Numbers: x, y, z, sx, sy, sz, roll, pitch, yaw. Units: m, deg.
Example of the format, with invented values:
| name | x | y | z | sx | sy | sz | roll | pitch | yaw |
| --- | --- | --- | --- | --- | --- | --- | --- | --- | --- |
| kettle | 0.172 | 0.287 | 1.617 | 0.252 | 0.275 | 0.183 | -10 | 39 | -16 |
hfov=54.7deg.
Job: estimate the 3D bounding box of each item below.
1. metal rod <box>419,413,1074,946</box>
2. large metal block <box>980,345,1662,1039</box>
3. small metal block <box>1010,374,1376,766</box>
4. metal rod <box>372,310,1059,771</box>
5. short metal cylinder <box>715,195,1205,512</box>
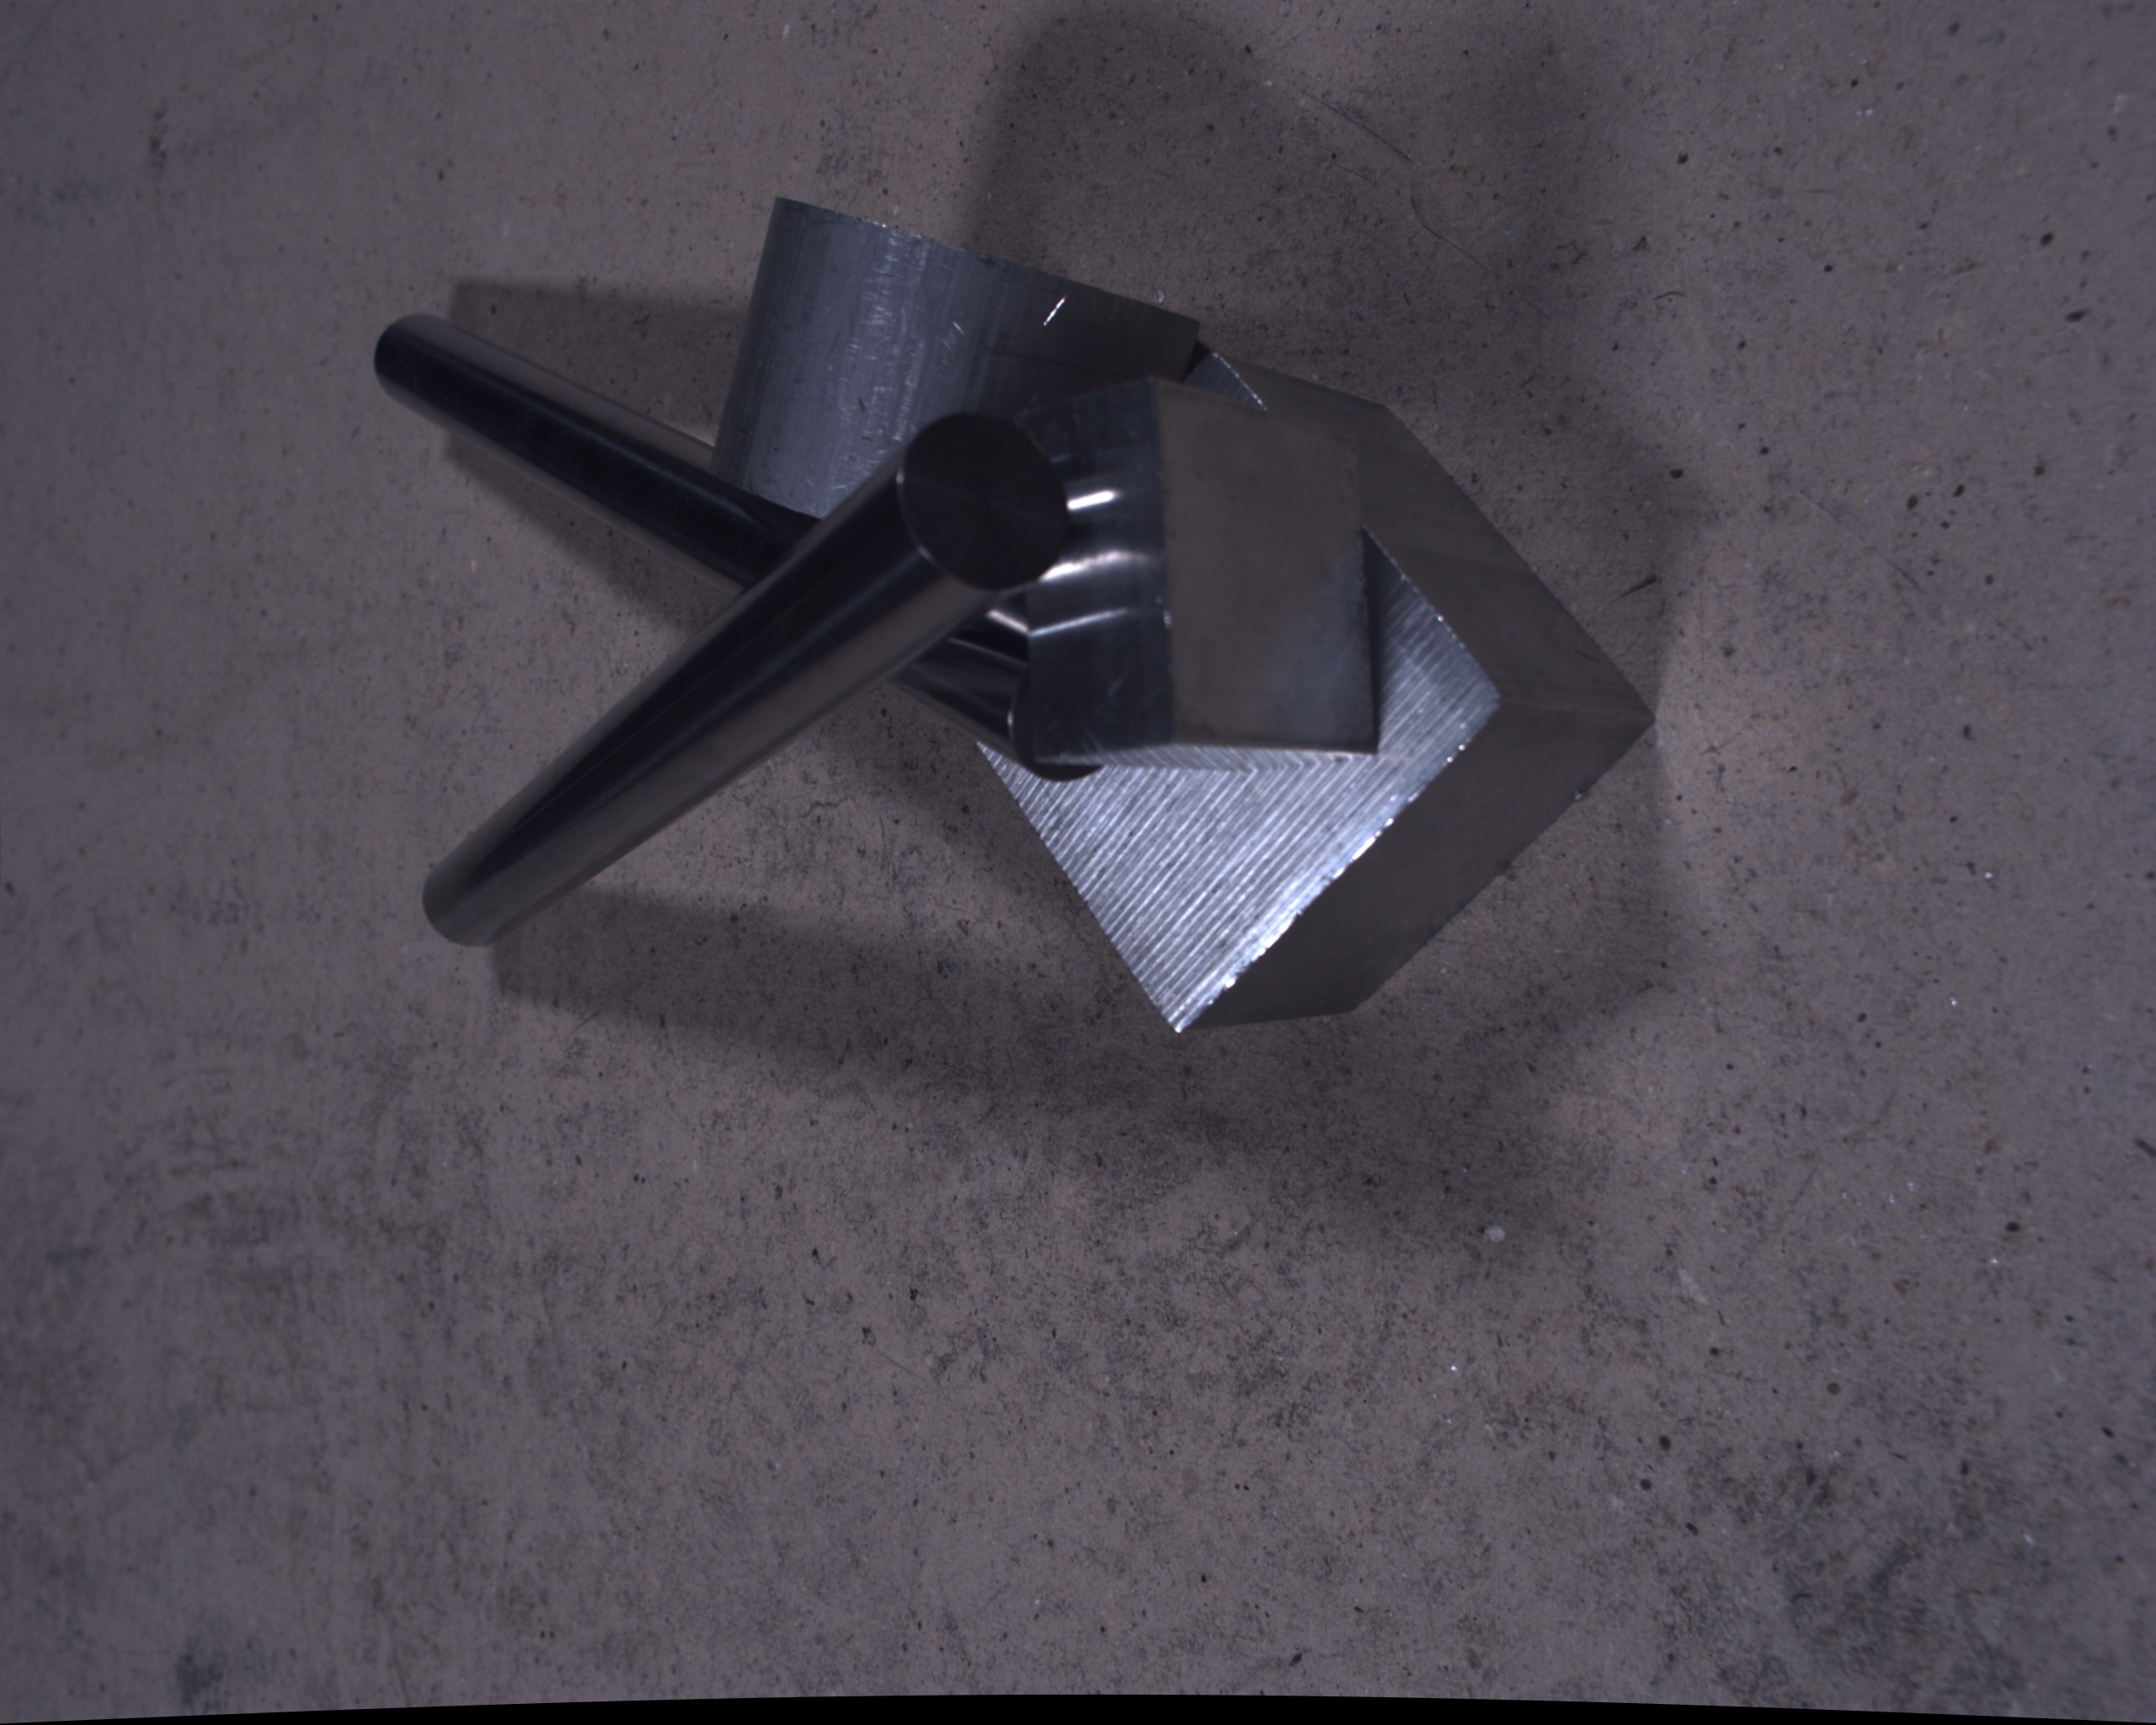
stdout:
| name | x | y | z | sx | sy | sz | roll | pitch | yaw |
| --- | --- | --- | --- | --- | --- | --- | --- | --- | --- |
| metal rod | -0.083 | -0.019 | 0.403 | 0.299 | 0.025 | 0.025 | -22 | 76 | 59 |
| large metal block | 0.036 | -0.028 | 0.357 | 0.080 | 0.050 | 0.080 | -49 | 61 | 30 |
| small metal block | 0.018 | -0.040 | 0.305 | 0.025 | 0.050 | 0.050 | -5 | 87 | 40 |
| metal rod | -0.086 | -0.079 | 0.438 | 0.300 | 0.025 | 0.025 | 32 | 110 | 47 |
| short metal cylinder | -0.022 | -0.088 | 0.389 | 0.080 | 0.081 | 0.050 | 26 | 107 | 36 |
